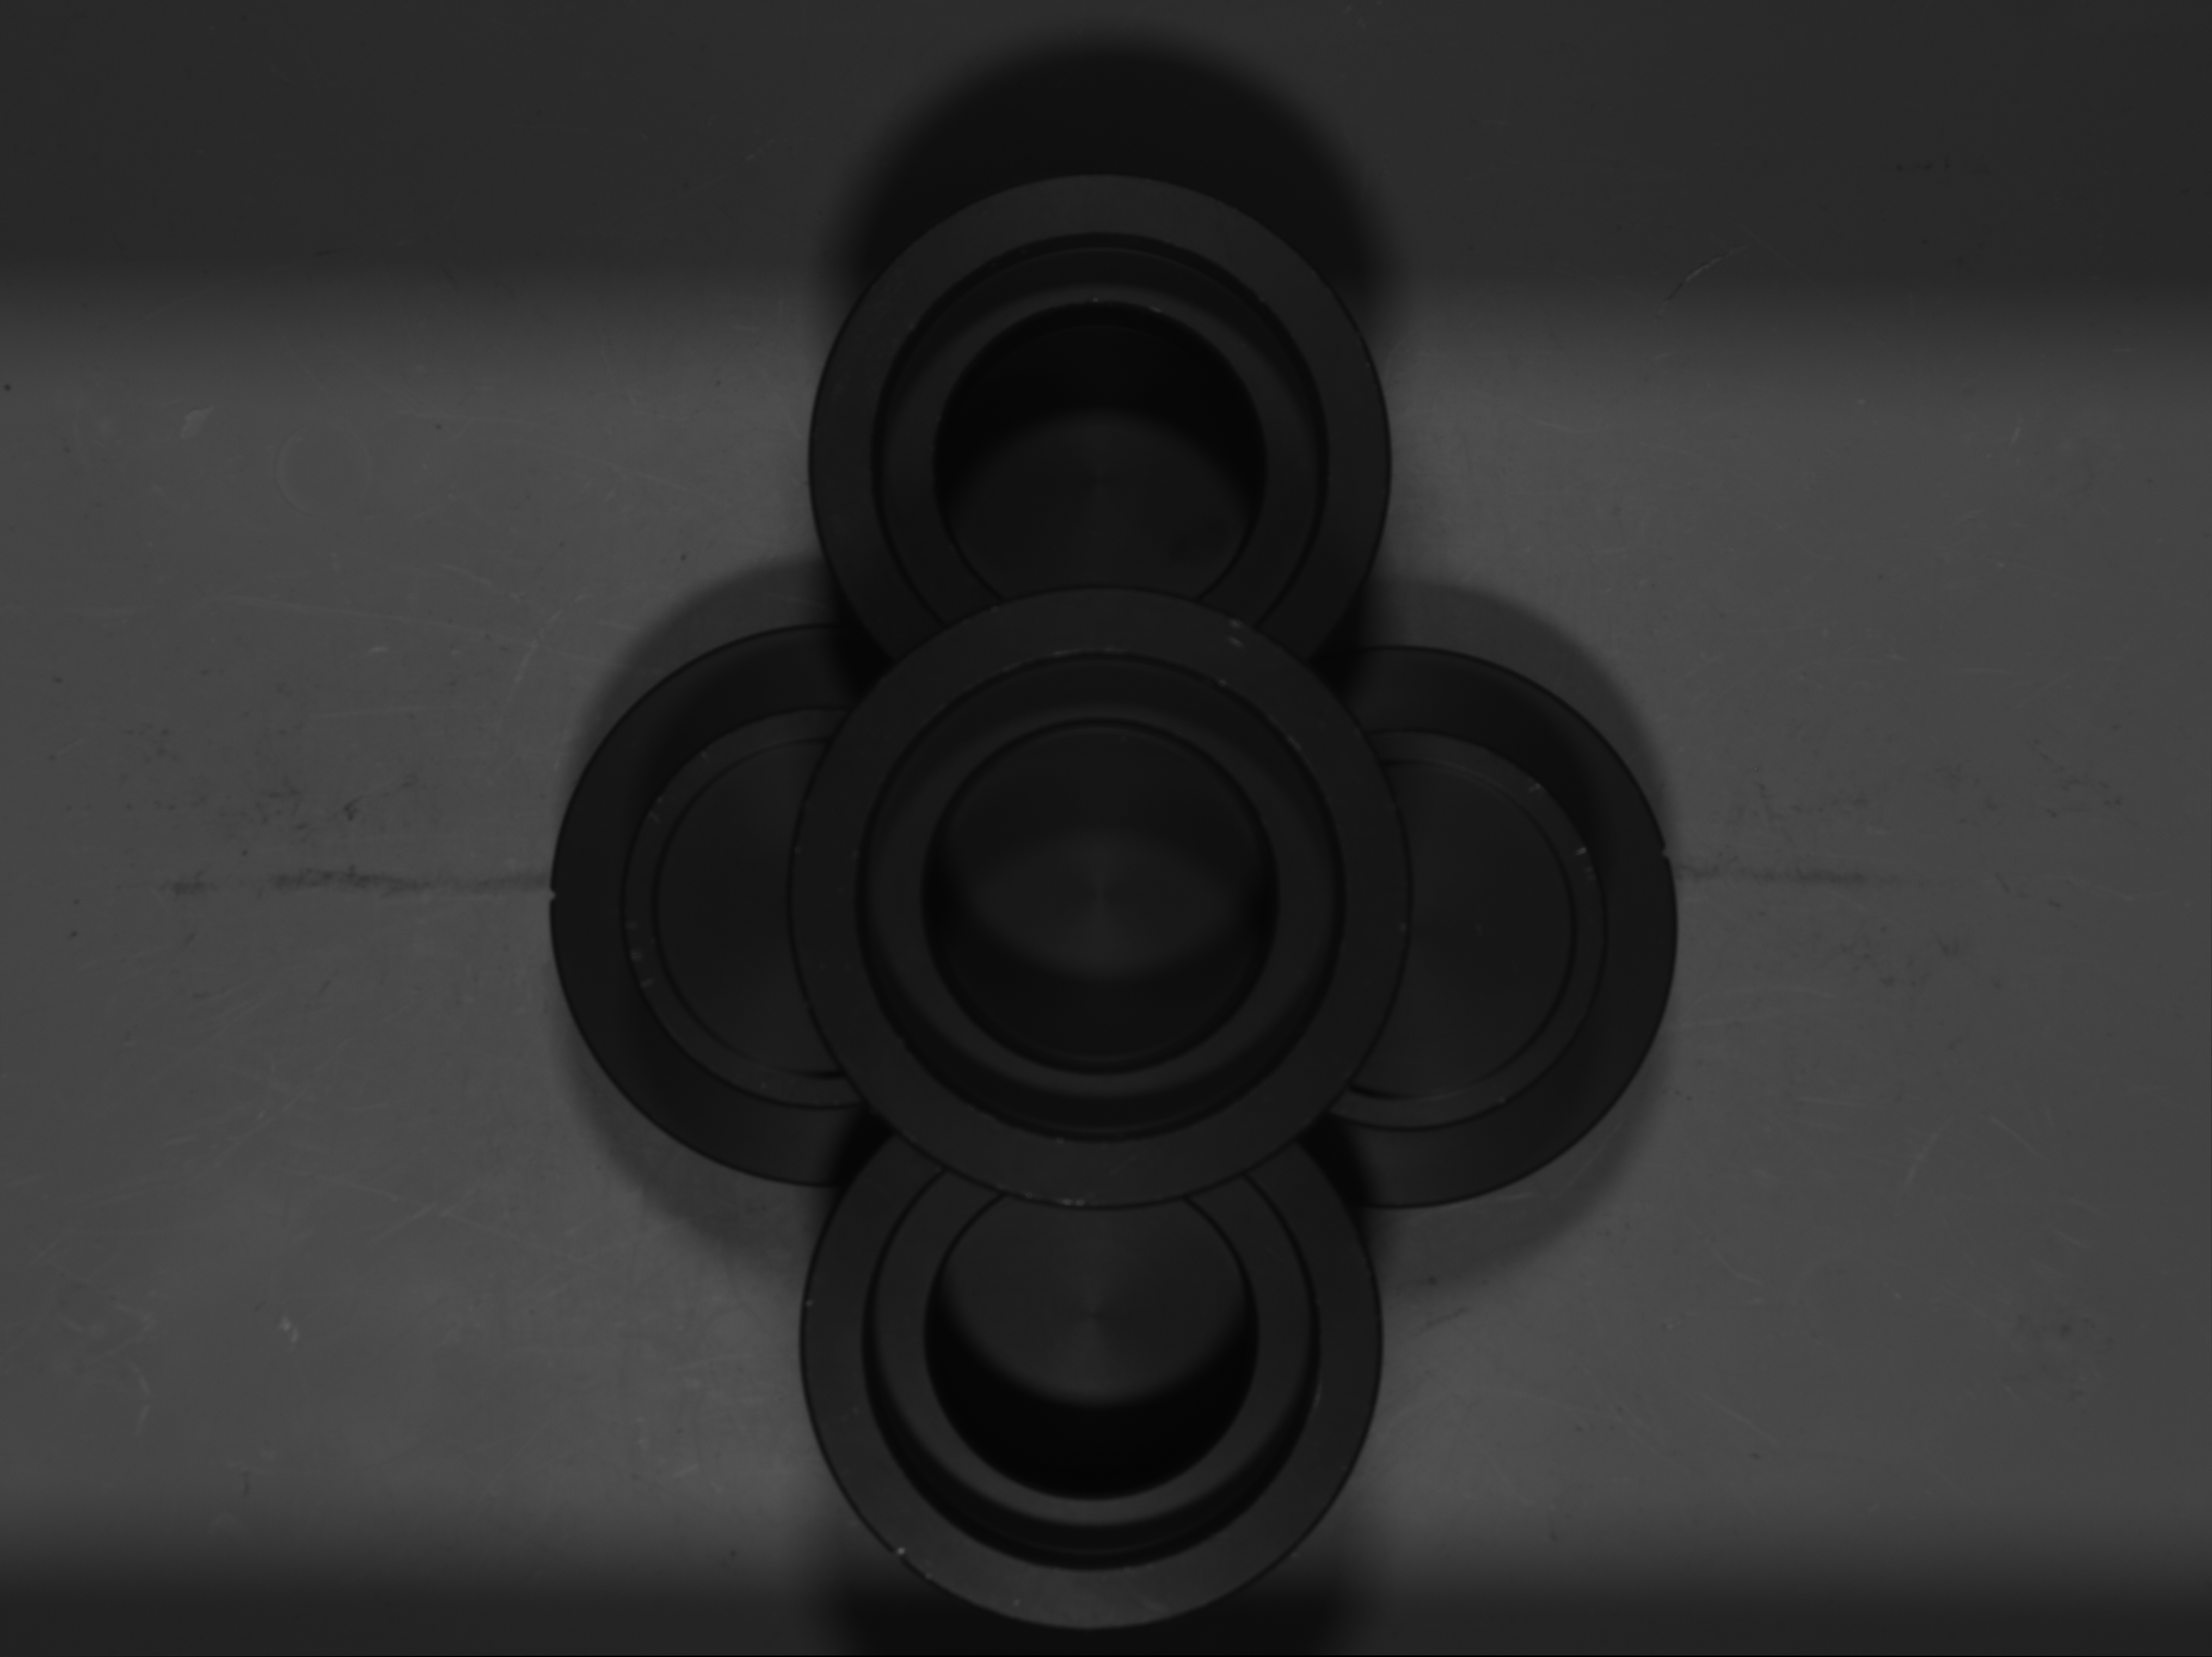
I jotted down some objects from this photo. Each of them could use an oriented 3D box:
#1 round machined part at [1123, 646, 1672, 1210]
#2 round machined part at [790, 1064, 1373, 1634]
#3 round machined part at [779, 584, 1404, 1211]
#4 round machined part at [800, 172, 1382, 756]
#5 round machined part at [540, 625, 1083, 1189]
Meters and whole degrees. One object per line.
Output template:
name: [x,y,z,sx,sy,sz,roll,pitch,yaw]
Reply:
round machined part: [0.049,0.017,0.635,0.098,0.042,0.098,0,90,0]
round machined part: [-0.004,0.086,0.635,0.098,0.042,0.098,0,90,0]
round machined part: [-0.002,0.011,0.593,0.098,0.042,0.098,0,90,0]
round machined part: [-0.003,-0.061,0.635,0.098,0.042,0.098,0,90,0]
round machined part: [-0.049,0.014,0.635,0.098,0.042,0.098,0,90,0]
